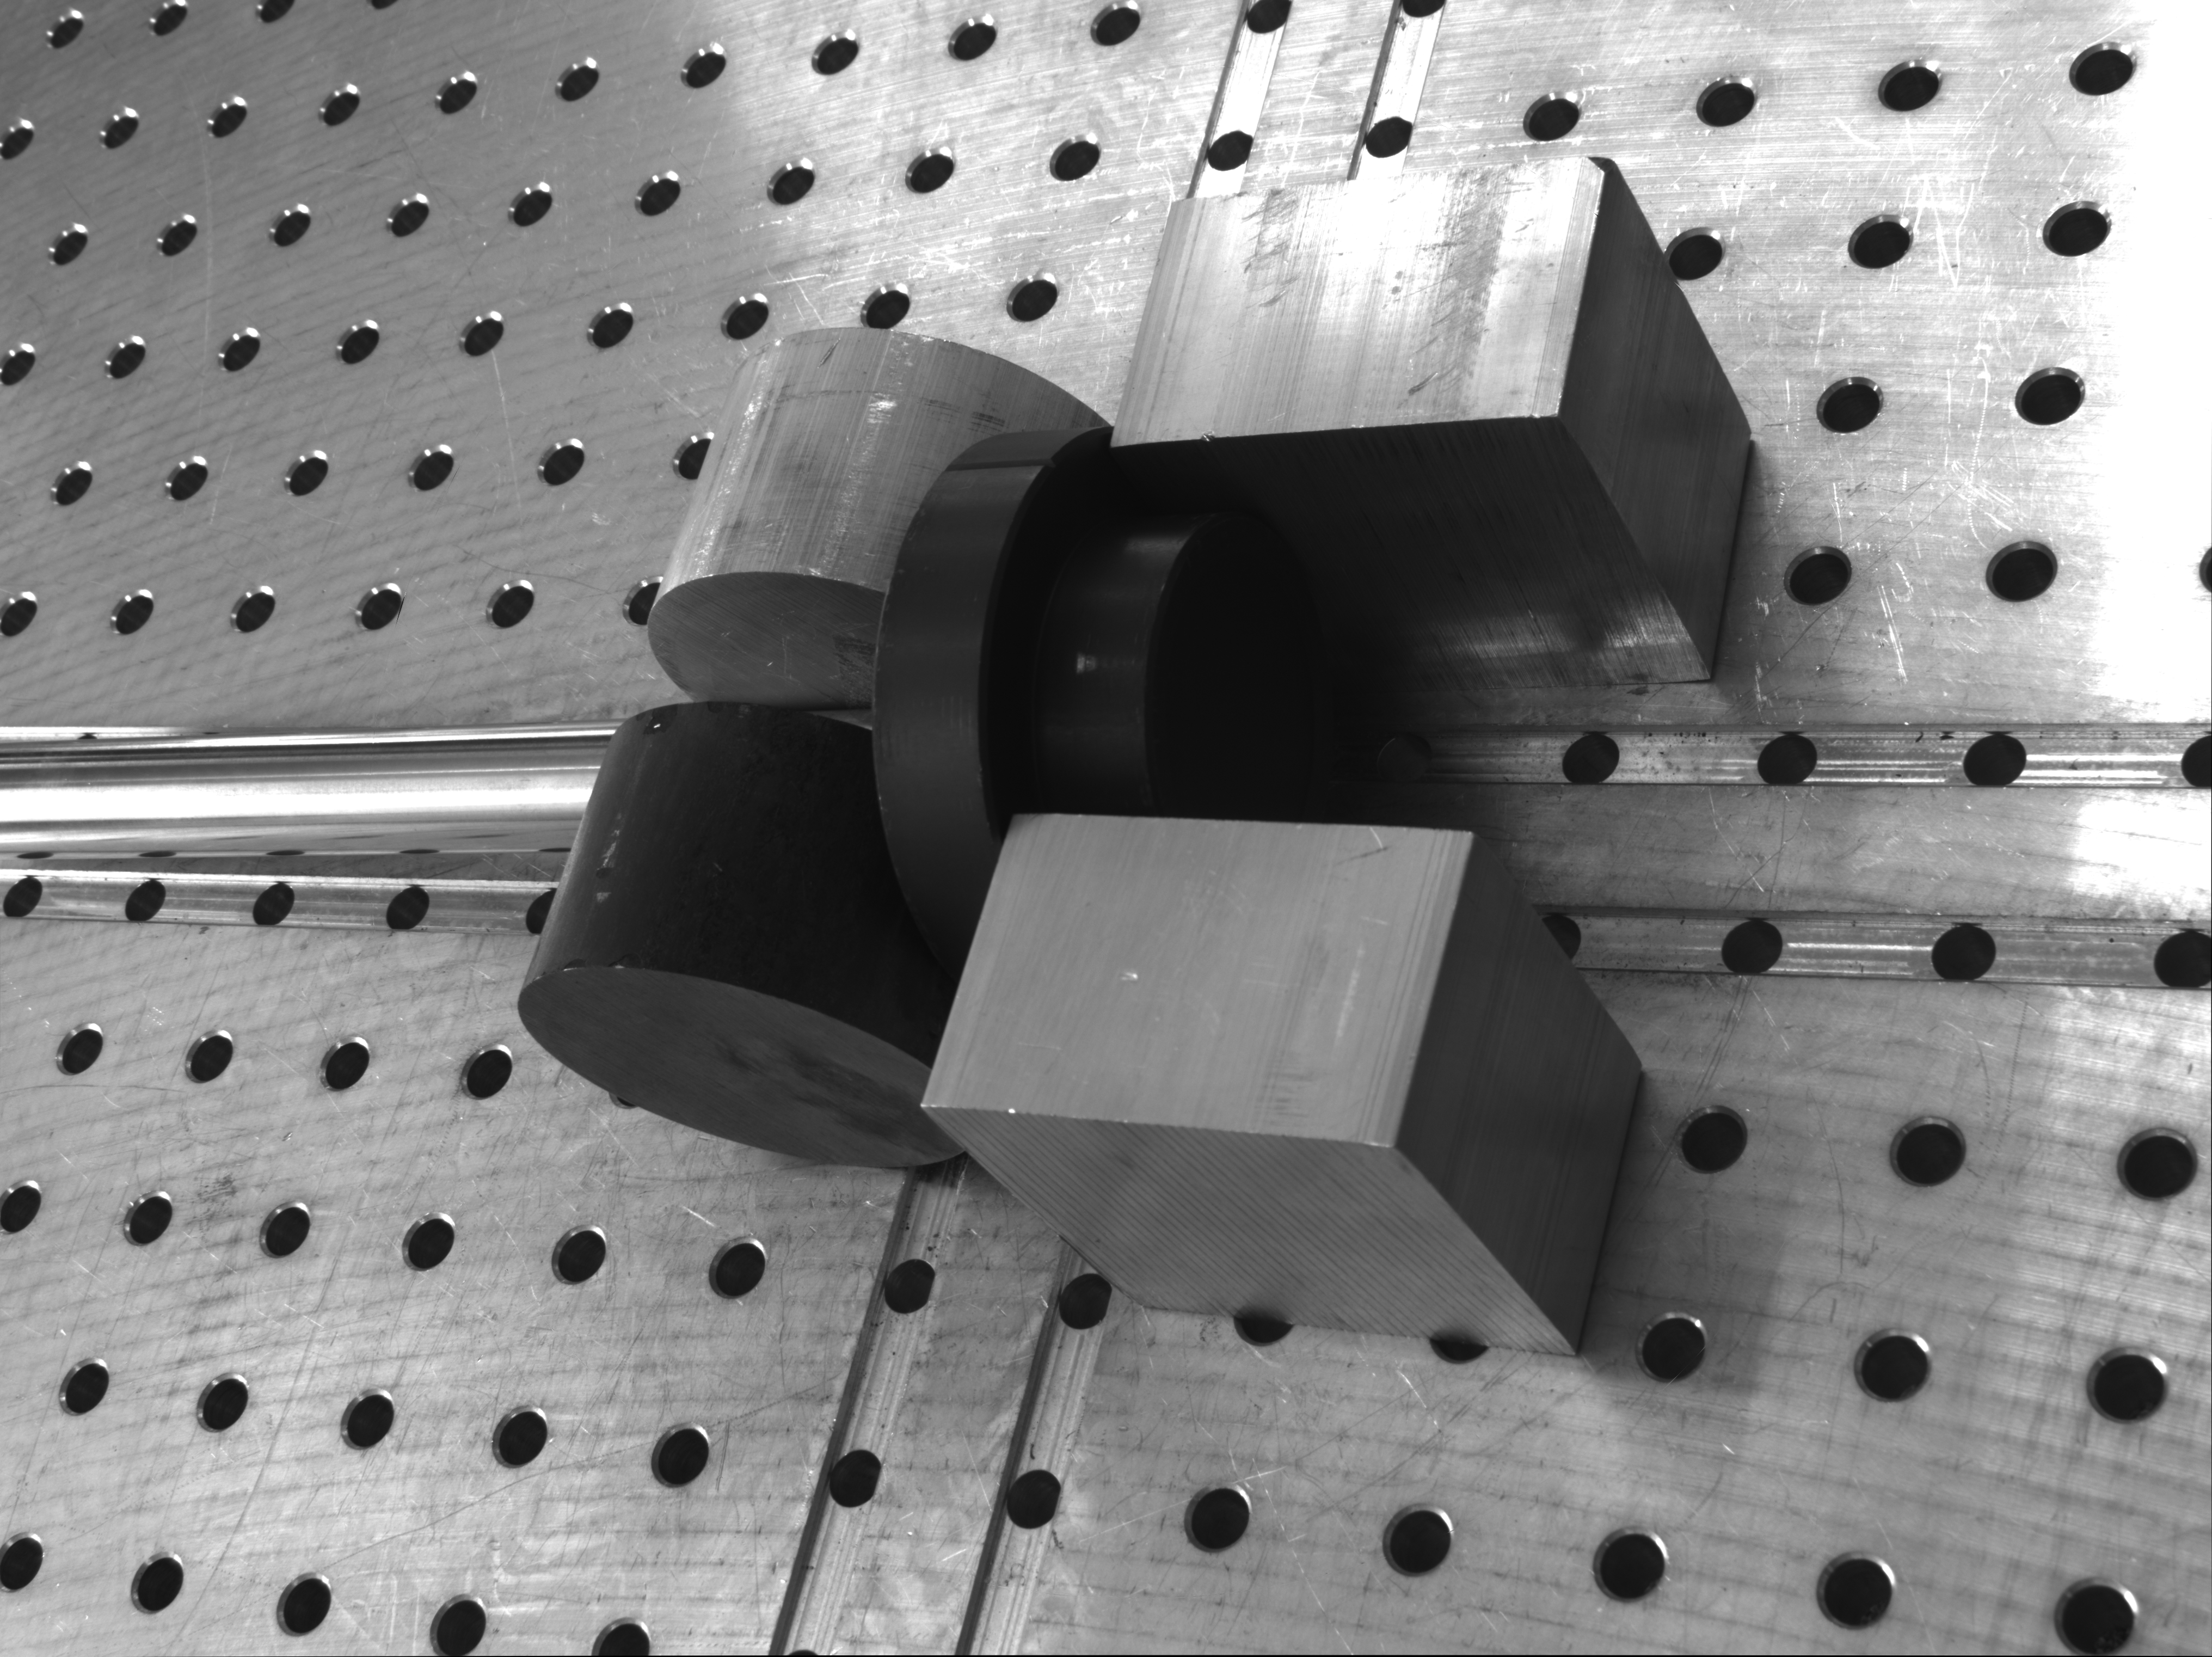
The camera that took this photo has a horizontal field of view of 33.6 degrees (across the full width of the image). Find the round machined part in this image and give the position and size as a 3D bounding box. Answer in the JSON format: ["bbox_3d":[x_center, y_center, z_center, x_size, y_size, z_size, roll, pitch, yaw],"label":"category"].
[{"bbox_3d":[0.005,-0.018,0.608,0.042,0.098,0.098,1,62,29],"label":"round machined part"}]

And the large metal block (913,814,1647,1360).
[{"bbox_3d":[0.029,0.040,0.572,0.080,0.080,0.050,3,63,30],"label":"large metal block"}]

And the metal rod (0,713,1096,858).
[{"bbox_3d":[-0.110,-0.008,0.697,0.299,0.025,0.025,-1,61,33],"label":"metal rod"}]

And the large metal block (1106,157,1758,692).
[{"bbox_3d":[0.057,-0.066,0.623,0.080,0.080,0.050,0,61,28],"label":"large metal block"}]

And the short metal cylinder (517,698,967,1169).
[{"bbox_3d":[-0.055,0.019,0.629,0.080,0.080,0.050,1,63,29],"label":"short metal cylinder"}]

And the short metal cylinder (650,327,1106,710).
[{"bbox_3d":[-0.036,-0.047,0.661,0.080,0.080,0.050,1,62,29],"label":"short metal cylinder"}]
